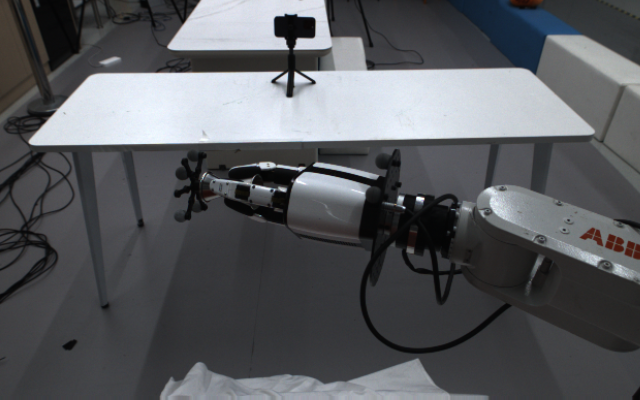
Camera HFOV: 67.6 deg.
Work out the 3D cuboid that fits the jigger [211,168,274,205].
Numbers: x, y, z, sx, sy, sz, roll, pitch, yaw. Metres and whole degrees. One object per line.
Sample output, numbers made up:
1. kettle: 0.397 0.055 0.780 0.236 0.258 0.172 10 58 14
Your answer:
1. jigger: -0.103 -0.015 0.601 0.071 0.043 0.043 6 35 14
